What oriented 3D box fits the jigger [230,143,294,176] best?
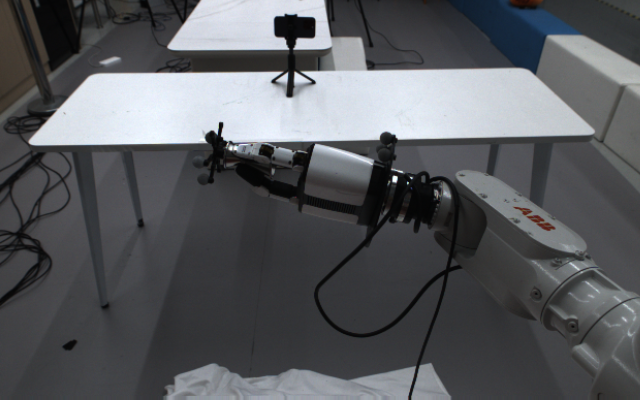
[{"bbox_3d":[-0.090,-0.061,0.678,0.071,0.043,0.043,11,35,3],"label":"jigger"}]
